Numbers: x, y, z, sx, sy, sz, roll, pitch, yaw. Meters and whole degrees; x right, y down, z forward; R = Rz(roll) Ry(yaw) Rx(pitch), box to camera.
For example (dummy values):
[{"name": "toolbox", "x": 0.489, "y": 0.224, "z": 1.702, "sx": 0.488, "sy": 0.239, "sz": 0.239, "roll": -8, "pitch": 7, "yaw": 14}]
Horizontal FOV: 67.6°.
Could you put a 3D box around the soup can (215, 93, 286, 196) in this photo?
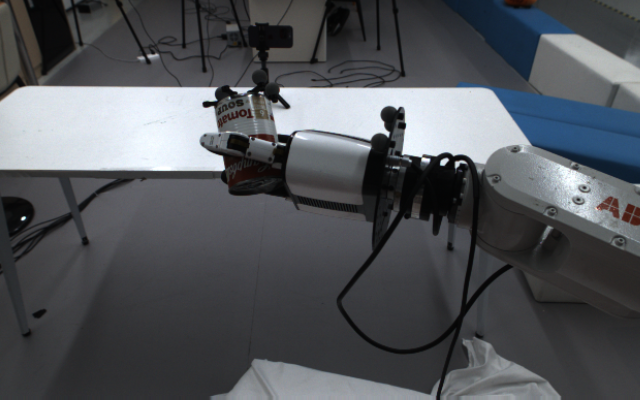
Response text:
[{"name": "soup can", "x": -0.079, "y": -0.062, "z": 0.559, "sx": 0.067, "sy": 0.067, "sz": 0.101, "roll": -10, "pitch": 80, "yaw": -17}]
